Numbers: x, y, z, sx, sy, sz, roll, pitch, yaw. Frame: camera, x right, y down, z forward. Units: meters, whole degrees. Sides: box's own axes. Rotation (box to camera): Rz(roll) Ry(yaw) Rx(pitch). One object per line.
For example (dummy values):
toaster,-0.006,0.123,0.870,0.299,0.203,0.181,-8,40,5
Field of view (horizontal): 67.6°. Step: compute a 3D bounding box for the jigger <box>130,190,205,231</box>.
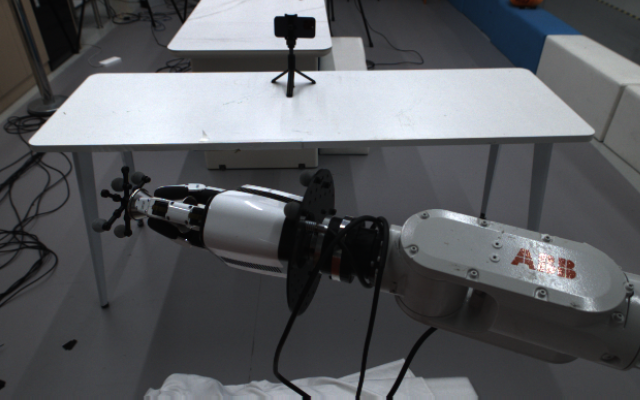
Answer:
jigger,-0.181,0.008,0.567,0.071,0.043,0.043,10,35,16
